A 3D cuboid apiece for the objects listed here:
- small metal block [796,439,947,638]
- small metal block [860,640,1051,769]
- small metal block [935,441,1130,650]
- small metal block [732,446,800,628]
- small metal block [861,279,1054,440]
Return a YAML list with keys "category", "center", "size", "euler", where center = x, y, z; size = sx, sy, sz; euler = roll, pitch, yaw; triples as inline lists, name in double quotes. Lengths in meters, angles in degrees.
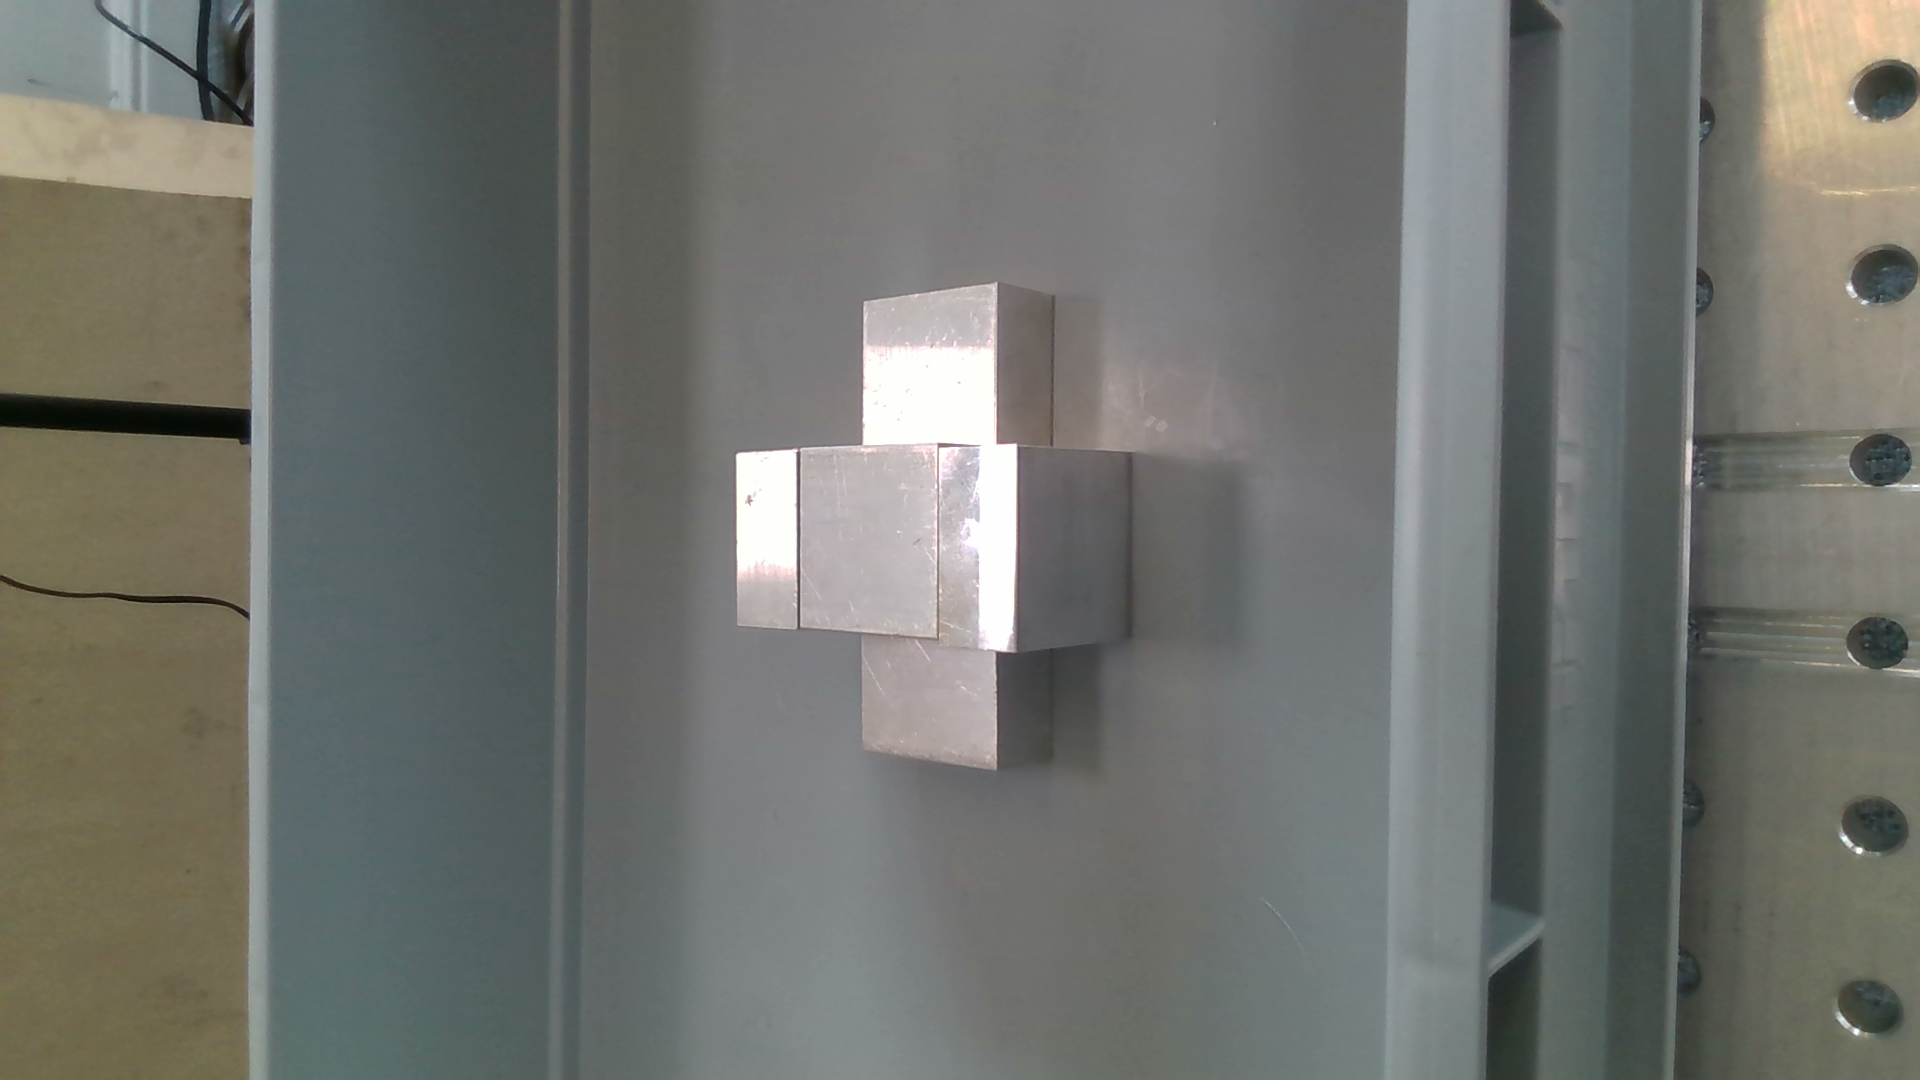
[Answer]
- category: "small metal block"
  center: [-0.018, -0.001, 0.370]
  size: [0.050, 0.025, 0.050]
  euler: [1, 91, 40]
- category: "small metal block"
  center: [-0.002, 0.036, 0.391]
  size: [0.050, 0.025, 0.050]
  euler: [1, 91, 40]
- category: "small metal block"
  center: [0.020, 0.001, 0.356]
  size: [0.025, 0.050, 0.050]
  euler: [1, 91, 40]
- category: "small metal block"
  center: [-0.040, -0.001, 0.404]
  size: [0.025, 0.050, 0.050]
  euler: [1, 91, 40]
- category: "small metal block"
  center: [-0.001, -0.044, 0.389]
  size: [0.050, 0.025, 0.050]
  euler: [1, 91, 40]
